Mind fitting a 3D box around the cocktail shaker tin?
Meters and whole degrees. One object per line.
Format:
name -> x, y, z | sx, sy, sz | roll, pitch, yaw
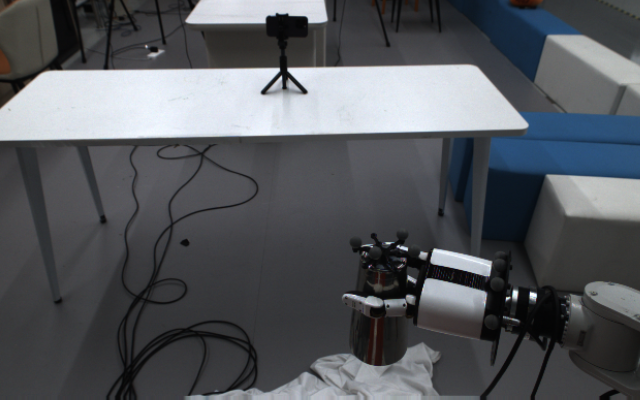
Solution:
cocktail shaker tin -> 0.094, 0.148, 0.718 | 0.093, 0.170, 0.093 | -1, 32, 1
